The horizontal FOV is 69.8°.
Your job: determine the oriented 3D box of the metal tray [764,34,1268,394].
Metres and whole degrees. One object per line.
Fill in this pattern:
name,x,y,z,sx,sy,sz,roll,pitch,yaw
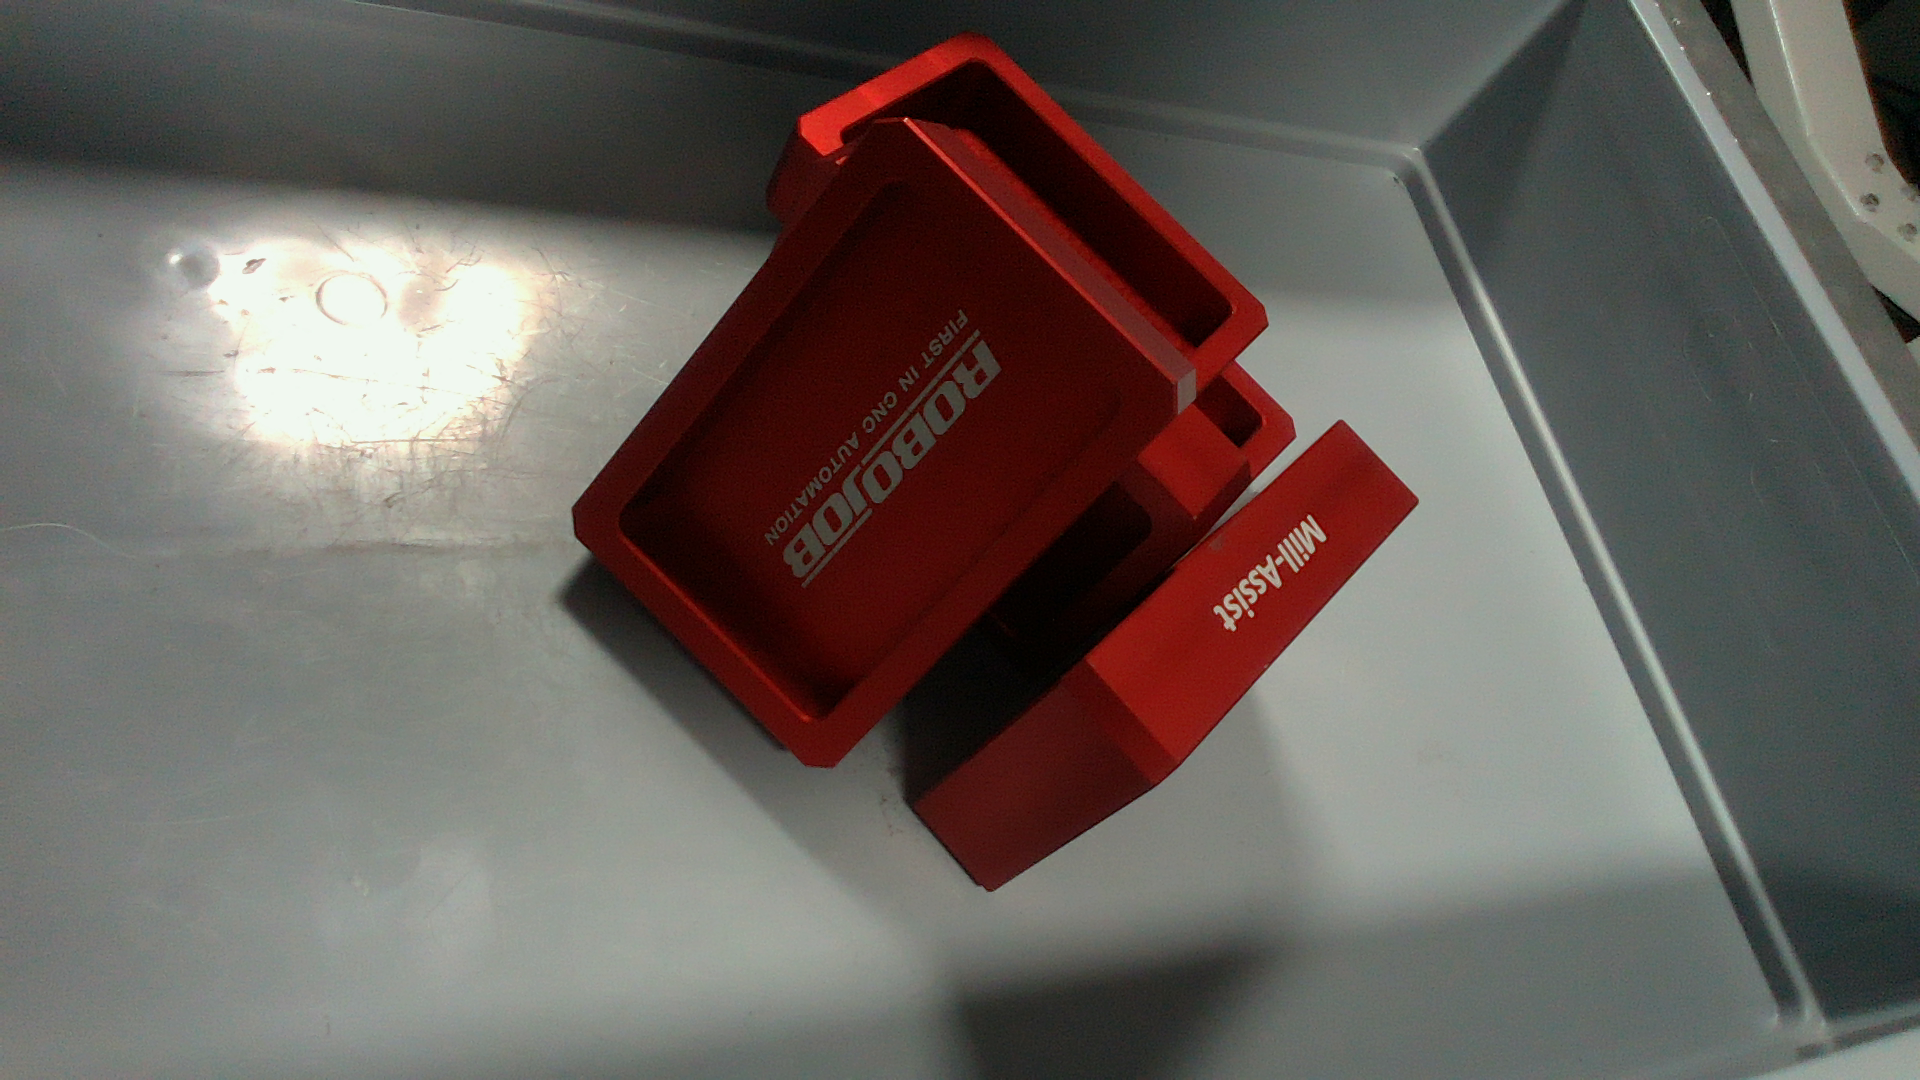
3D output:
metal tray,0.018,-0.083,0.407,0.130,0.030,0.090,45,51,4

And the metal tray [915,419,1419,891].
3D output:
metal tray,0.055,0.028,0.358,0.030,0.090,0.130,48,51,6

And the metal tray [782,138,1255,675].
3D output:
metal tray,0.003,-0.034,0.368,0.130,0.090,0.030,45,51,3

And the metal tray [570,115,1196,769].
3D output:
metal tray,-0.020,-0.021,0.324,0.090,0.130,0.030,44,20,3

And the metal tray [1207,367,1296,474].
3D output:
metal tray,0.034,-0.054,0.438,0.130,0.030,0.090,46,52,6
